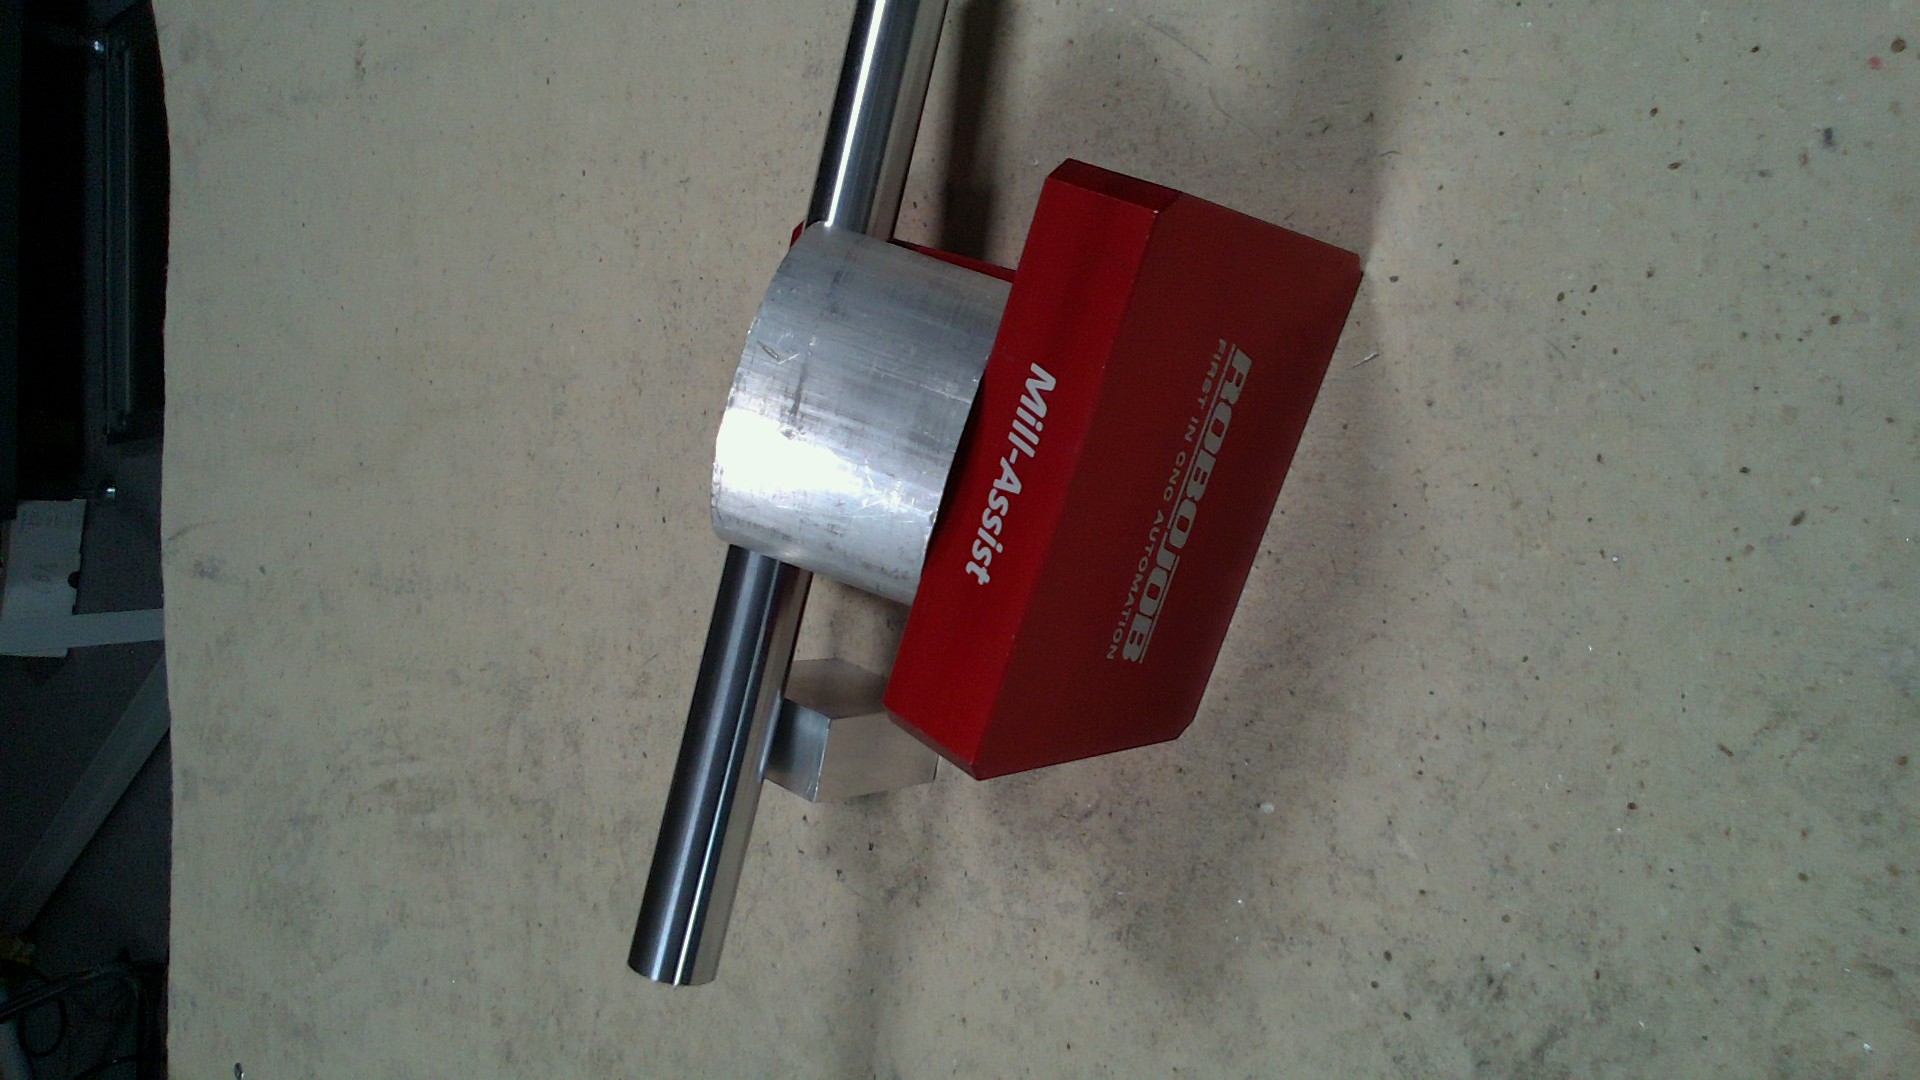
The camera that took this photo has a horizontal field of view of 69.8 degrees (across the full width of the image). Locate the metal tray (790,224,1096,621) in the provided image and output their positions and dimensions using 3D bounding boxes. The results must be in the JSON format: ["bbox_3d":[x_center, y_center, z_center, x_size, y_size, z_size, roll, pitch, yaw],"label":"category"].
[{"bbox_3d":[-0.004,-0.036,0.394,0.130,0.030,0.090,23,105,38],"label":"metal tray"}]

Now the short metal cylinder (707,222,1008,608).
[{"bbox_3d":[-0.020,-0.029,0.327,0.050,0.080,0.080,19,105,5],"label":"short metal cylinder"}]

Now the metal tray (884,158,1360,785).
[{"bbox_3d":[0.039,-0.013,0.319,0.030,0.090,0.130,28,108,37],"label":"metal tray"}]

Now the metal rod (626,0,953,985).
[{"bbox_3d":[-0.044,-0.027,0.381,0.025,0.025,0.300,14,90,39],"label":"metal rod"}]

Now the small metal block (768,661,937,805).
[{"bbox_3d":[-0.041,0.055,0.413,0.050,0.050,0.025,16,101,39],"label":"small metal block"}]
